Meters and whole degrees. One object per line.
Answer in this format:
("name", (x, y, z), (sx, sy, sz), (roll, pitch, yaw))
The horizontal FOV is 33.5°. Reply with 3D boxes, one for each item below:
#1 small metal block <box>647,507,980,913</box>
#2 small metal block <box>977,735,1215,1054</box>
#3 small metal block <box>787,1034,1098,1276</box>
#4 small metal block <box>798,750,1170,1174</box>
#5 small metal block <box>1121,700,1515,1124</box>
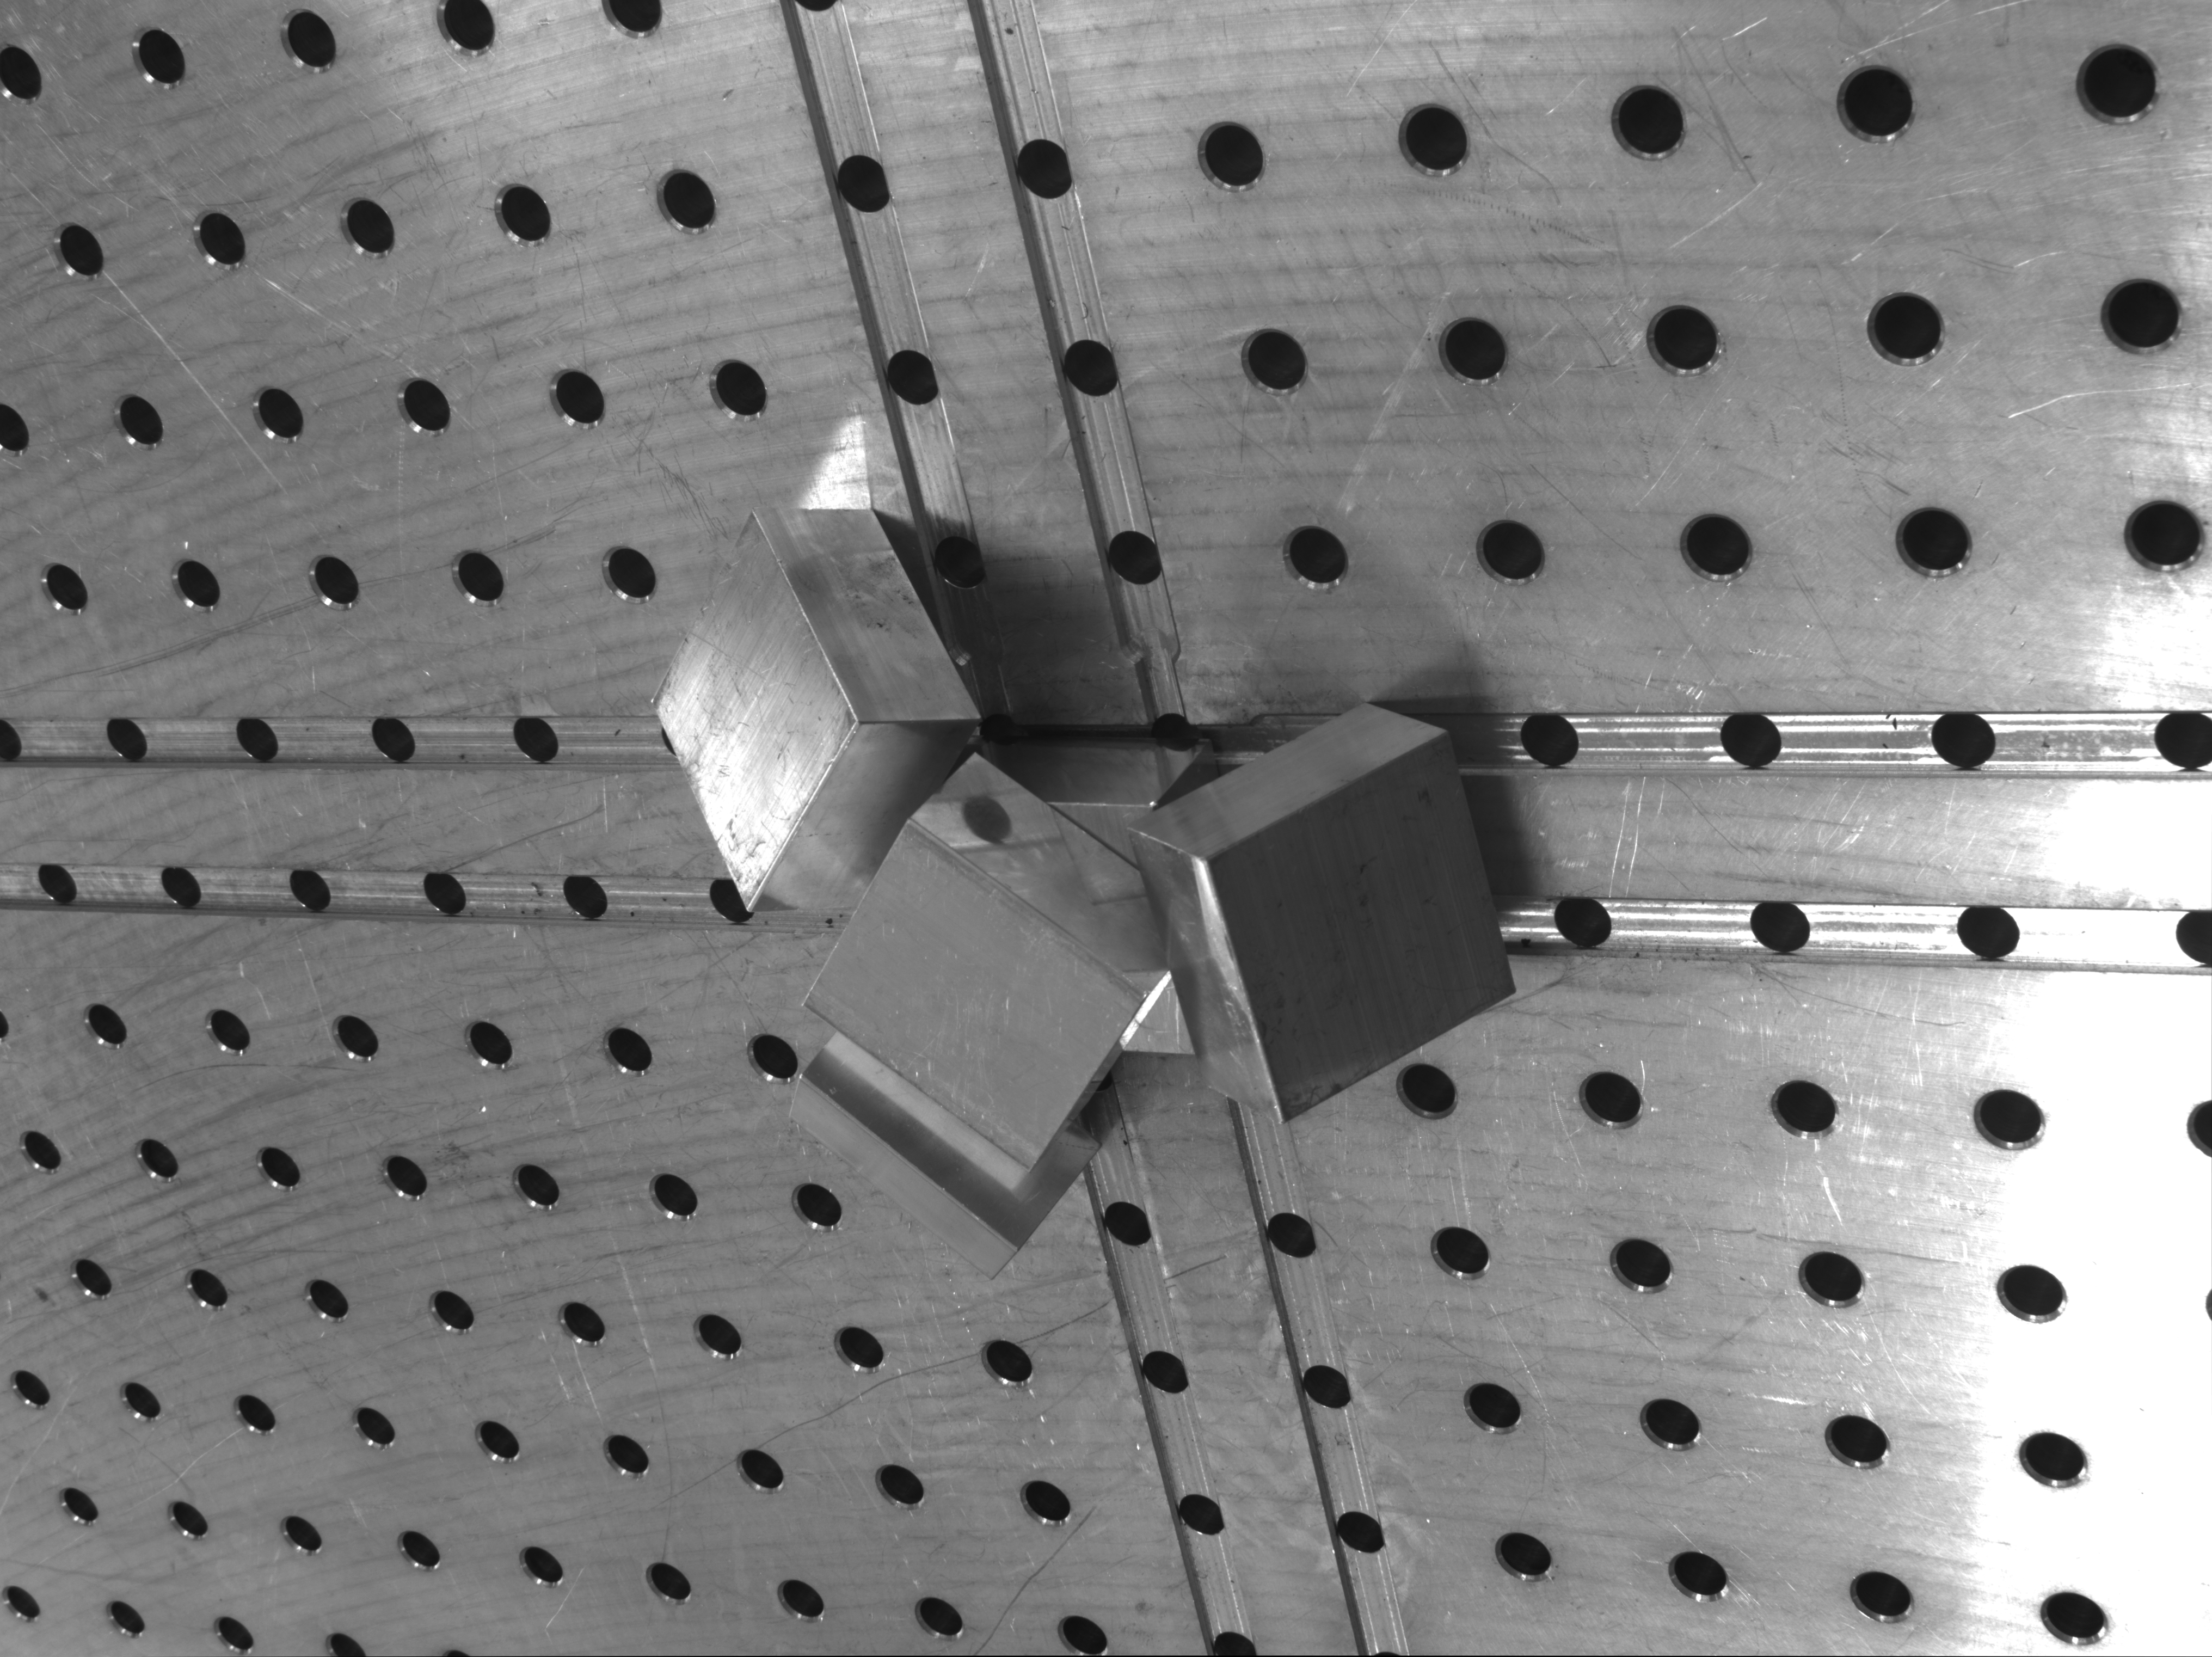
("small metal block", (-0.052, -0.021, 0.646), (0.050, 0.025, 0.050), (-56, 50, 39))
("small metal block", (-0.004, 0.011, 0.656), (0.050, 0.025, 0.050), (1, 122, 28))
("small metal block", (-0.031, 0.056, 0.681), (0.050, 0.025, 0.050), (39, 166, 3))
("small metal block", (-0.018, 0.023, 0.638), (0.050, 0.025, 0.050), (35, 128, 4))
("small metal block", (0.036, 0.013, 0.615), (0.025, 0.050, 0.050), (23, 135, 57))
